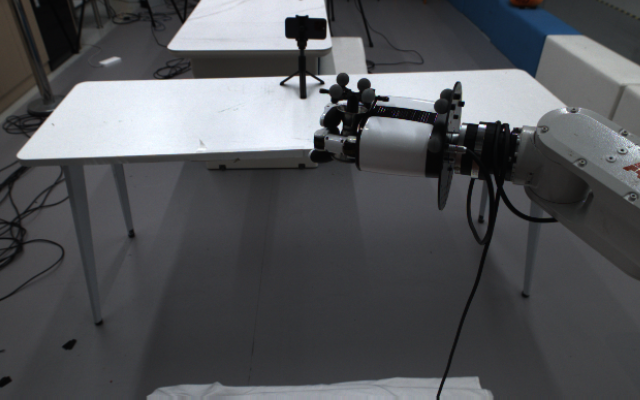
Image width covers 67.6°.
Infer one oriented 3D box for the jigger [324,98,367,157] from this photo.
[{"bbox_3d":[0.037,-0.089,0.642,0.043,0.071,0.043,5,26,-3],"label":"jigger"}]
